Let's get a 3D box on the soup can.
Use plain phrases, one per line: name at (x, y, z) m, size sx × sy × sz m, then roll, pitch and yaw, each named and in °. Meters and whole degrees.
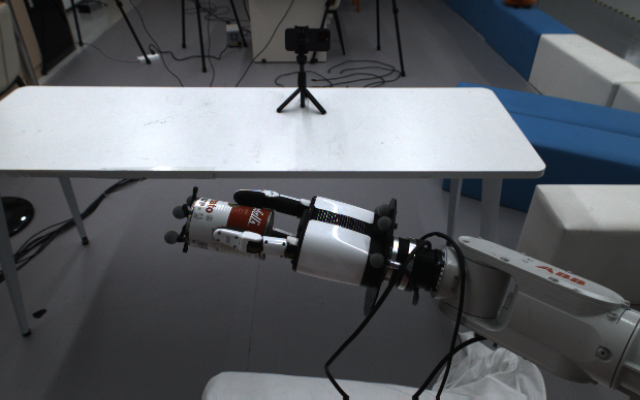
soup can at (-0.115, 0.039, 0.640) m, size 0.101 × 0.067 × 0.067 m, roll 11°, pitch 35°, yaw 0°
